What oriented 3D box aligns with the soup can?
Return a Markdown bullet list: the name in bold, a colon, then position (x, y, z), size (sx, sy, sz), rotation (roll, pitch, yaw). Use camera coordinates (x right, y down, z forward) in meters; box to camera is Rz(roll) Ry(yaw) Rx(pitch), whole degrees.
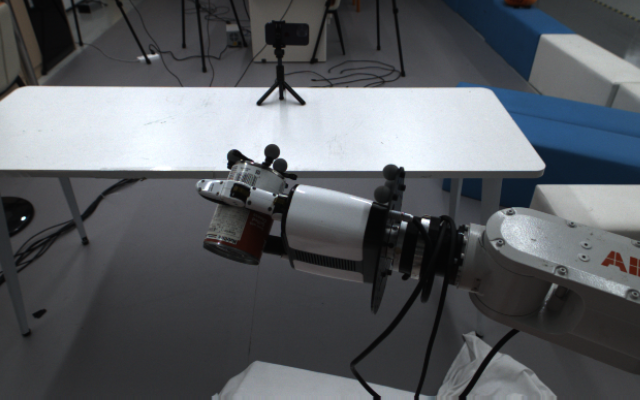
- **soup can**: position (-0.084, 0.014, 0.551), size (0.067, 0.067, 0.101), rotation (12, 70, 14)
